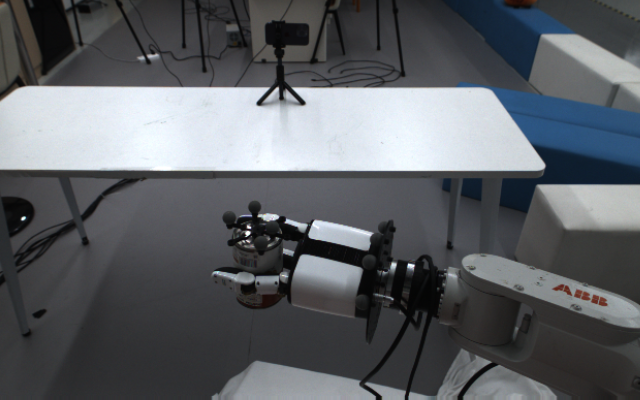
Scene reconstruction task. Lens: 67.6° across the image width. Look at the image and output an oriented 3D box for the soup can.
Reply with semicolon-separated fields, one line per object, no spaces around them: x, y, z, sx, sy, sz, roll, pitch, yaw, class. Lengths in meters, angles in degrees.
-0.080;0.088;0.649;0.067;0.101;0.067;2;32;-1;soup can
